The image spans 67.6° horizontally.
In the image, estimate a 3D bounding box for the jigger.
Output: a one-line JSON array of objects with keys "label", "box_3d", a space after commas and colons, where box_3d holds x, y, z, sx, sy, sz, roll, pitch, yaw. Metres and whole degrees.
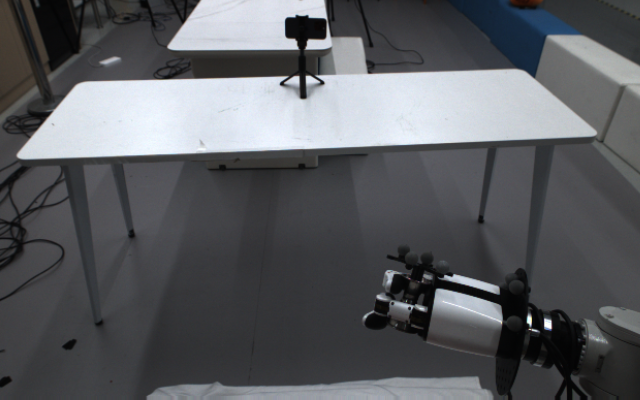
[{"label": "jigger", "box_3d": [0.118, 0.134, 0.636, 0.043, 0.071, 0.043, 17, 2, -1]}]
